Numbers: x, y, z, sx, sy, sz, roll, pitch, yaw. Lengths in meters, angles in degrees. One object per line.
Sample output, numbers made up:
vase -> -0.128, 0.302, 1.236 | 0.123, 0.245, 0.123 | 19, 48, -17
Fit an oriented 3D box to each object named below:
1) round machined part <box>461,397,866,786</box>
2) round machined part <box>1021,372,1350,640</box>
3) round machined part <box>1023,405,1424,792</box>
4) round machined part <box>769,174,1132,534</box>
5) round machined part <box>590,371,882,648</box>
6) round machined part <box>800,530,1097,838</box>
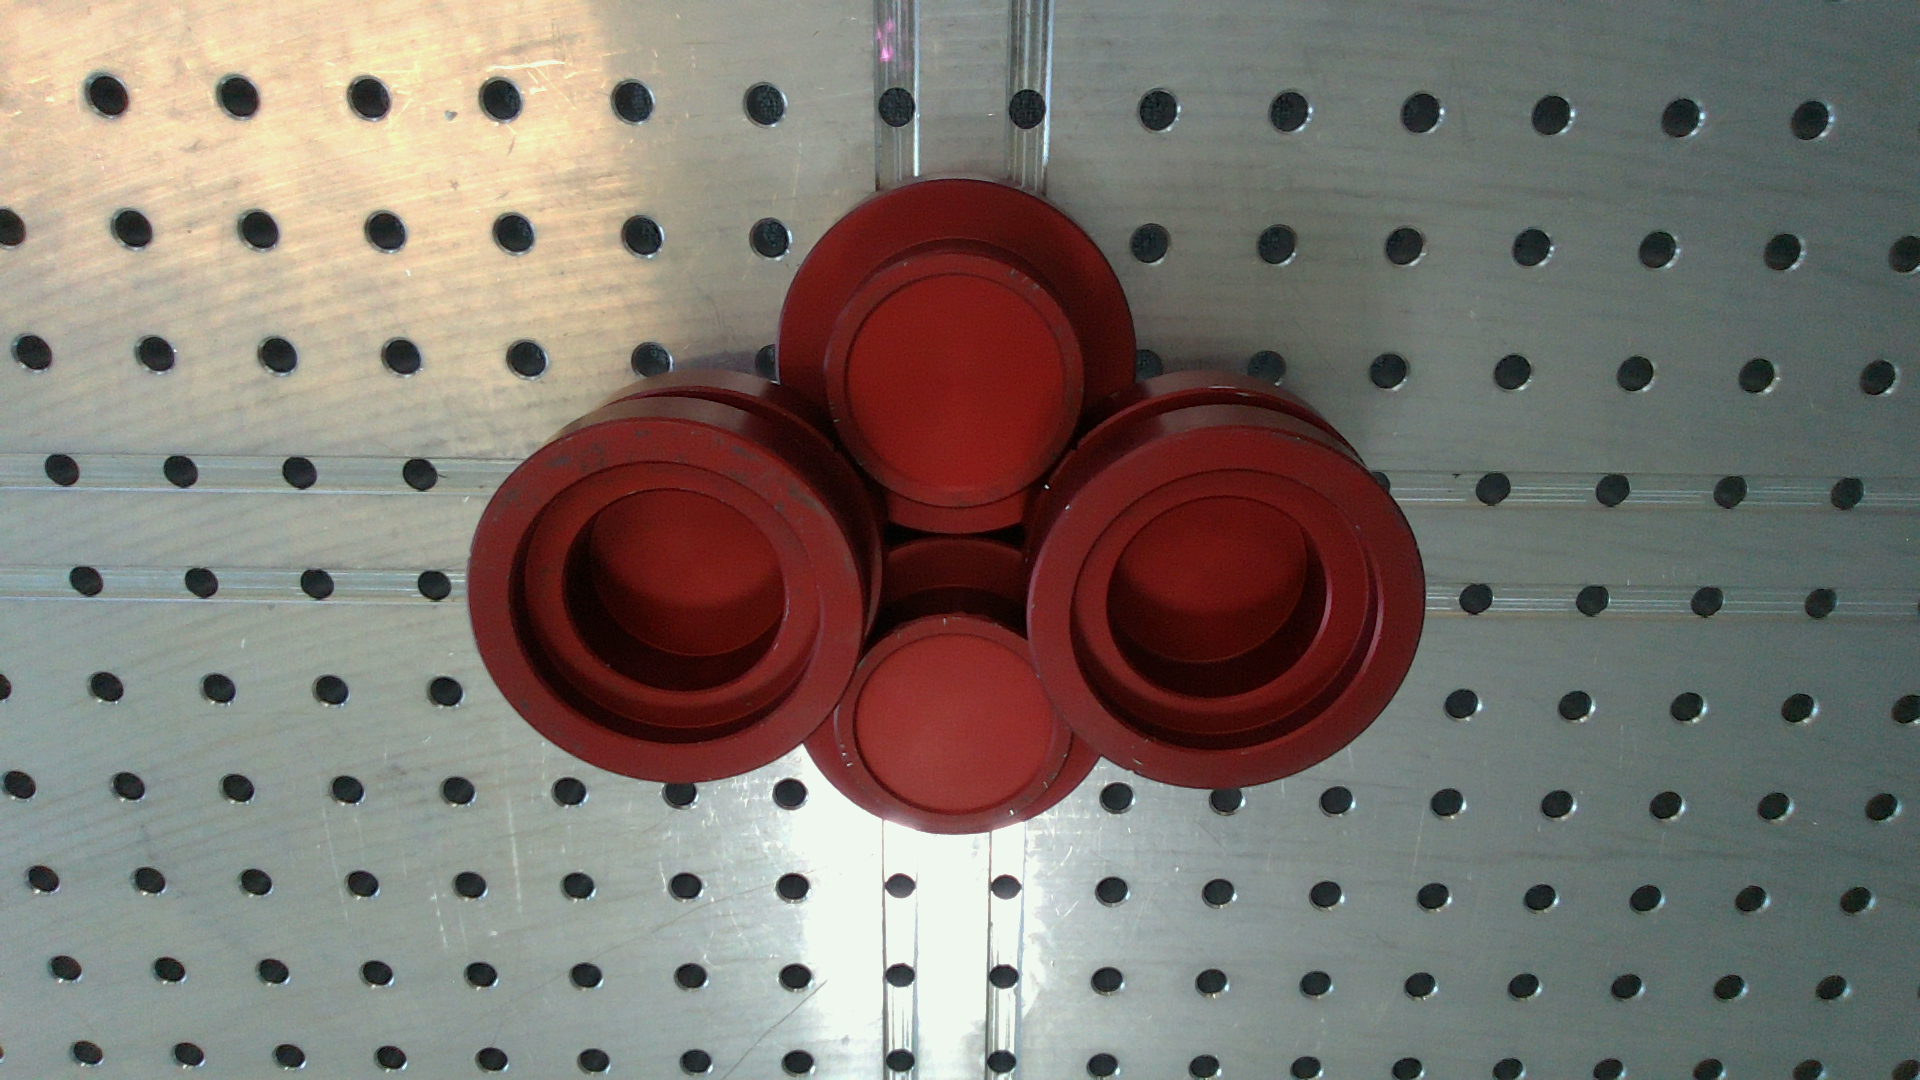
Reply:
round machined part -> -0.073, 0.010, 0.356 | 0.098, 0.042, 0.098 | 0, 110, 0
round machined part -> 0.065, 0.000, 0.387 | 0.098, 0.042, 0.098 | 0, 110, 0
round machined part -> 0.065, 0.012, 0.357 | 0.098, 0.042, 0.098 | 0, 110, 0
round machined part -> -0.002, -0.047, 0.369 | 0.098, 0.042, 0.098 | 0, 110, 0
round machined part -> -0.070, 0.000, 0.386 | 0.098, 0.042, 0.098 | 0, 110, 0
round machined part -> -0.002, 0.046, 0.403 | 0.098, 0.042, 0.098 | 0, 110, 0
